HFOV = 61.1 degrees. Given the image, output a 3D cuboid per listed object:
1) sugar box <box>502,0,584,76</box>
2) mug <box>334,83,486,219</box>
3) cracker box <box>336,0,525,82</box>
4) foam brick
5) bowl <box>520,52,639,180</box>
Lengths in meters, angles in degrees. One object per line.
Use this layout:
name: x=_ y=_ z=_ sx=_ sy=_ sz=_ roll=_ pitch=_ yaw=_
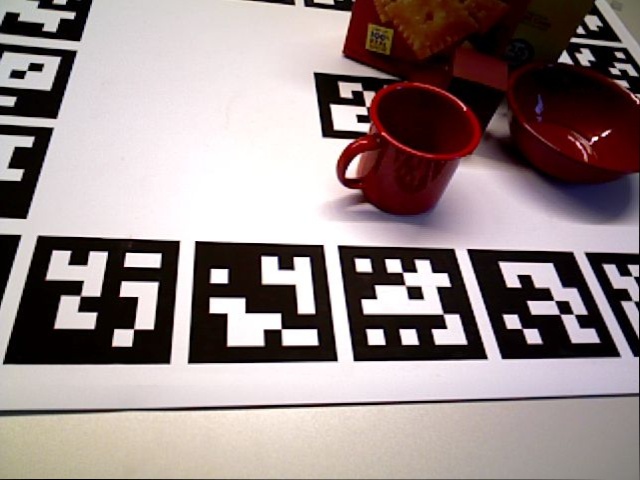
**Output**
sugar box: x=0.224 y=-0.258 z=0.563 sx=0.092 sy=0.181 sz=0.044 roll=18 pitch=51 yaw=2
mug: x=0.067 y=-0.071 z=0.444 sx=0.116 sy=0.083 sz=0.092 roll=-7 pitch=47 yaw=-15
cracker box: x=0.121 y=-0.261 z=0.520 sx=0.164 sy=0.219 sz=0.070 roll=25 pitch=49 yaw=6
foam brick: x=0.135 y=-0.136 z=0.522 sx=0.052 sy=0.080 sz=0.050 roll=13 pitch=50 yaw=-2
bowl: x=0.258 y=-0.110 z=0.524 sx=0.160 sy=0.056 sz=0.159 roll=6 pitch=53 yaw=-8
